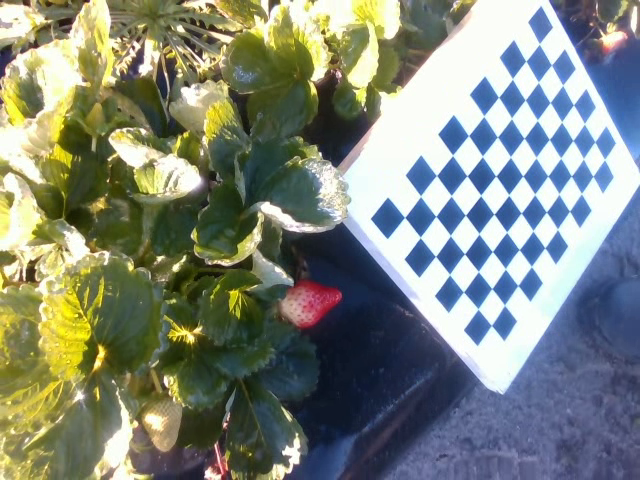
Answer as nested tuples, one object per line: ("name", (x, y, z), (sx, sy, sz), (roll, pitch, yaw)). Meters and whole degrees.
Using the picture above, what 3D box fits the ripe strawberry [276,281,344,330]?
("ripe strawberry", (-0.003, 0.057, 0.524), (0.065, 0.040, 0.040), (-8, 6, -30))
